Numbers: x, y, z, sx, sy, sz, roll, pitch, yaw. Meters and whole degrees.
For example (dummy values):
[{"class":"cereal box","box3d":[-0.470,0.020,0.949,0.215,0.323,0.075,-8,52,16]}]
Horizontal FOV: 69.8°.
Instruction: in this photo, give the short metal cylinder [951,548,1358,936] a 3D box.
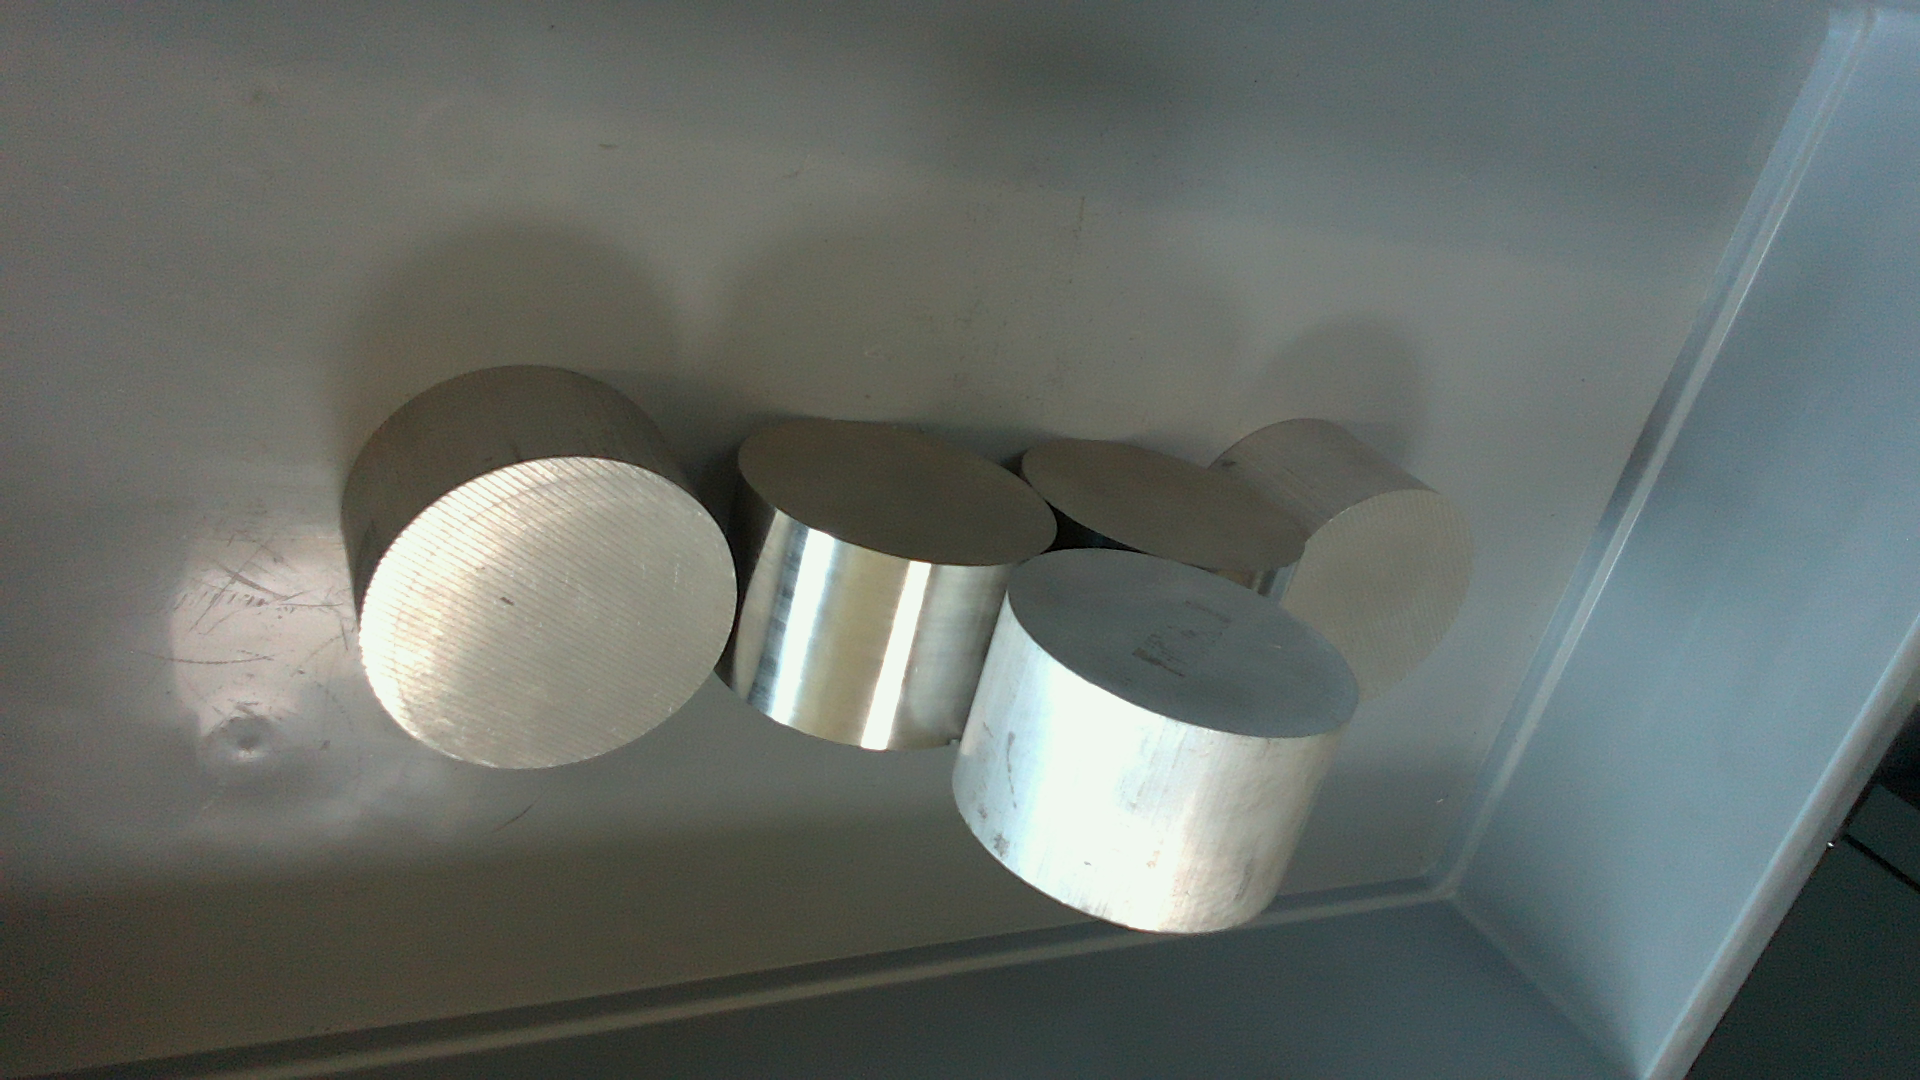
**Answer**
[{"class":"short metal cylinder","box3d":[0.043,0.043,0.313,0.080,0.080,0.050,2,117,-29]}]

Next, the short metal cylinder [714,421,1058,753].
[{"class":"short metal cylinder","box3d":[-0.021,0.009,0.346,0.080,0.080,0.050,2,117,-29]}]

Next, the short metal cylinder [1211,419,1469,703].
[{"class":"short metal cylinder","box3d":[0.112,0.008,0.438,0.080,0.050,0.080,-14,124,-21]}]

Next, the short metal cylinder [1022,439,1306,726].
[{"class":"short metal cylinder","box3d":[0.050,0.011,0.386,0.080,0.080,0.050,2,117,-29]}]

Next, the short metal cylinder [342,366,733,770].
[{"class":"short metal cylinder","box3d":[-0.099,0.006,0.321,0.080,0.050,0.080,-14,124,-21]}]
